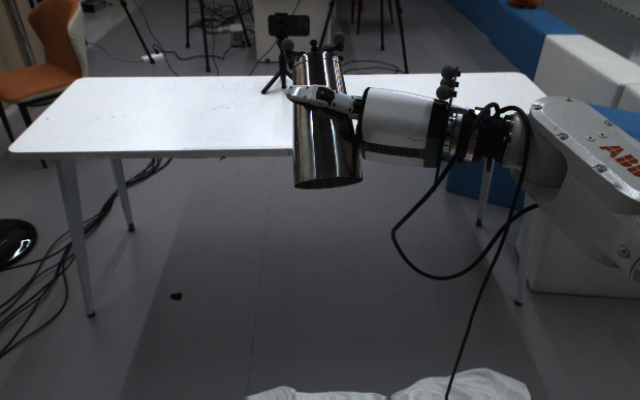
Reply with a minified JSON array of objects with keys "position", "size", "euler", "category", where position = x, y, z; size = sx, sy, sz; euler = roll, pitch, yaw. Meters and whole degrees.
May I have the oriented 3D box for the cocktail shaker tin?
[{"position":[0.003,-0.106,0.651],"size":[0.093,0.170,0.093],"euler":[-6,-7,-1],"category":"cocktail shaker tin"}]
